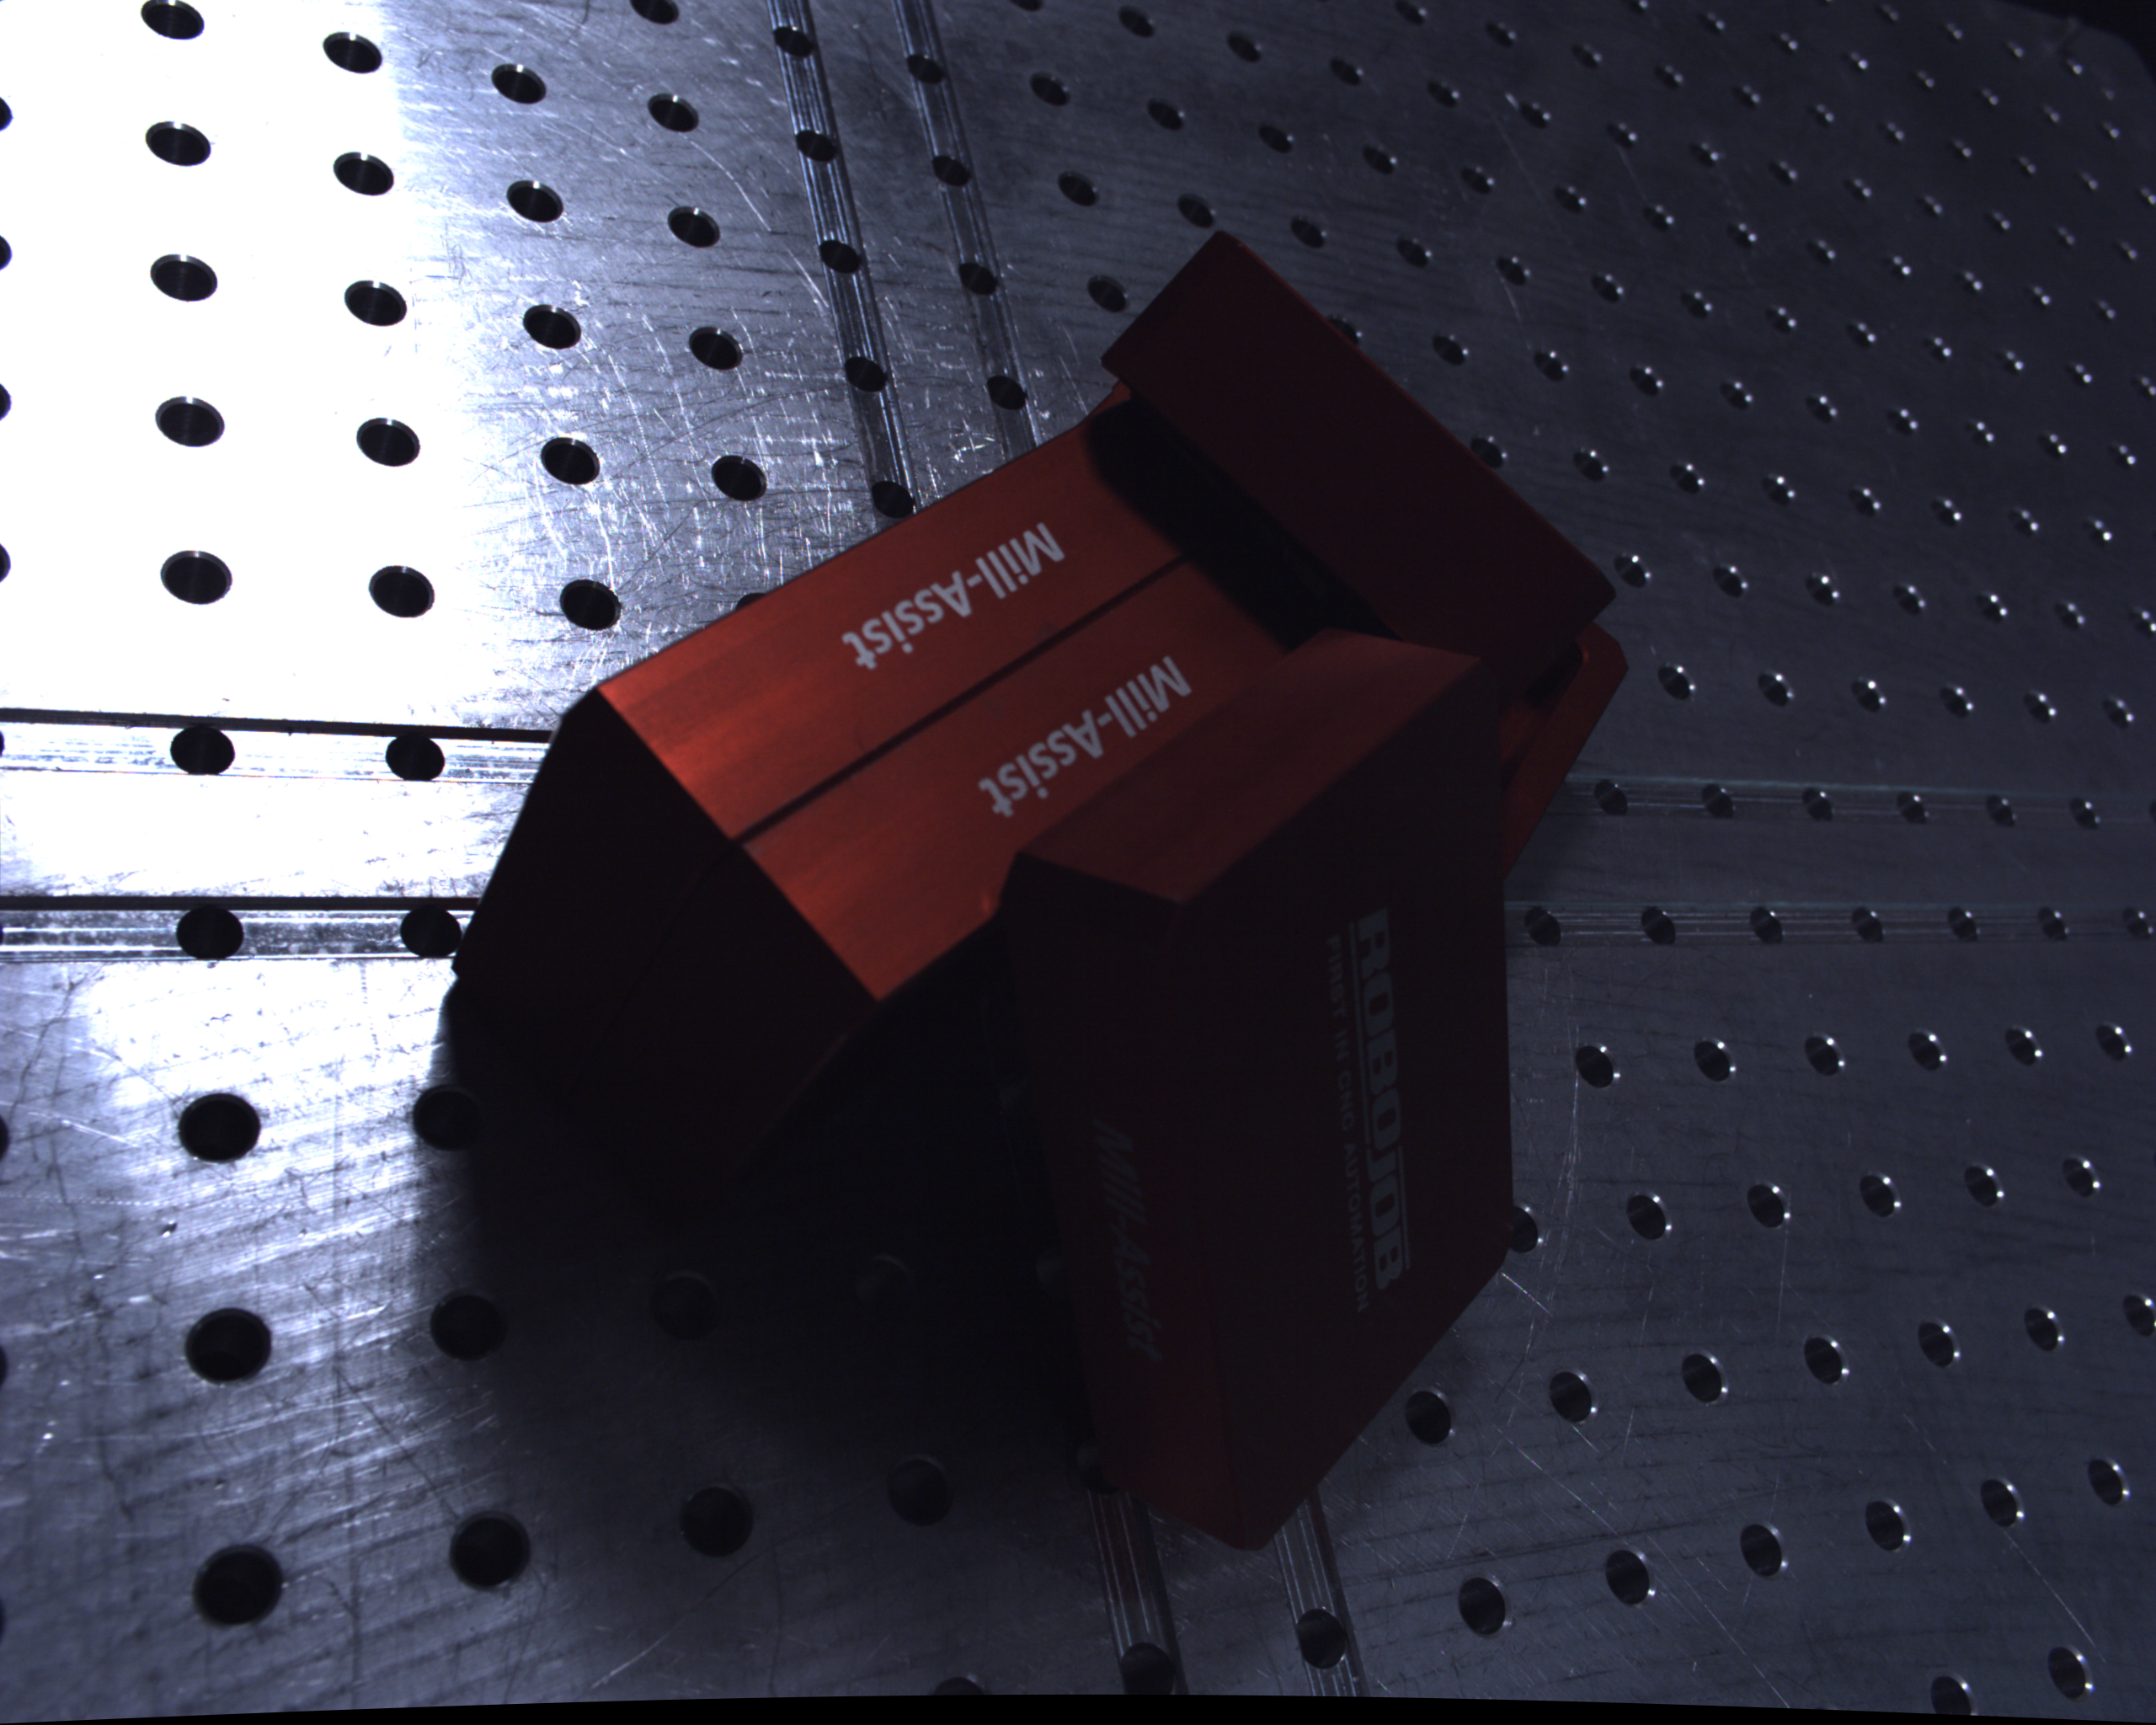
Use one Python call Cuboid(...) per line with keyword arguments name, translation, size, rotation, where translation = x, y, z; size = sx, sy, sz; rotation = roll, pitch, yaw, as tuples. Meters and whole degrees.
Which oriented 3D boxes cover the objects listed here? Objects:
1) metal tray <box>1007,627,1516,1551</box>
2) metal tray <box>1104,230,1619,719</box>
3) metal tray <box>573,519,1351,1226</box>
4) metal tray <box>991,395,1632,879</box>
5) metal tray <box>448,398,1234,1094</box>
Cuboid(name="metal tray", translation=(0.037, 0.038, 0.347), size=(0.030, 0.129, 0.091), rotation=(18, 40, 36))
Cuboid(name="metal tray", translation=(0.052, -0.069, 0.407), size=(0.090, 0.030, 0.130), rotation=(43, 6, 1))
Cuboid(name="metal tray", translation=(-0.017, 0.000, 0.356), size=(0.030, 0.090, 0.131), rotation=(49, 51, 5))
Cuboid(name="metal tray", translation=(0.053, -0.056, 0.468), size=(0.130, 0.030, 0.090), rotation=(40, 51, -2))
Cuboid(name="metal tray", translation=(-0.039, -0.021, 0.359), size=(0.030, 0.090, 0.131), rotation=(49, 51, 5))
